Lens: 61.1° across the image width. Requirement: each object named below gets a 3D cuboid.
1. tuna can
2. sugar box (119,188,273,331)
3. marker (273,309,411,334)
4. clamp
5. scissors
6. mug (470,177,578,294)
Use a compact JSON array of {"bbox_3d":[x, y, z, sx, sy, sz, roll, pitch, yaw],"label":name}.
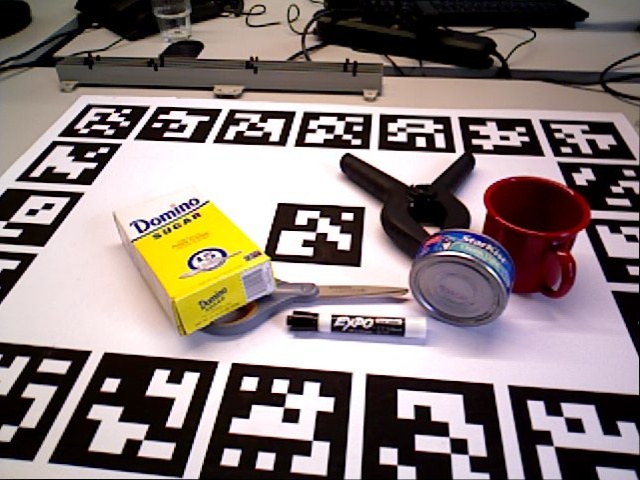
[{"bbox_3d":[0.123,0.030,0.471,0.086,0.087,0.033,16,44,18],"label":"tuna can"},{"bbox_3d":[-0.126,0.006,0.529,0.091,0.046,0.176,-22,40,-22],"label":"sugar box"},{"bbox_3d":[0.019,0.071,0.479,0.121,0.020,0.019,1,43,4],"label":"marker"},{"bbox_3d":[0.107,-0.039,0.602,0.164,0.037,0.199,-3,43,-3],"label":"clamp"},{"bbox_3d":[-0.022,0.040,0.512,0.201,0.016,0.086,-2,38,-3],"label":"scissors"},{"bbox_3d":[0.188,0.003,0.507,0.092,0.083,0.116,-15,40,-15],"label":"mug"}]
